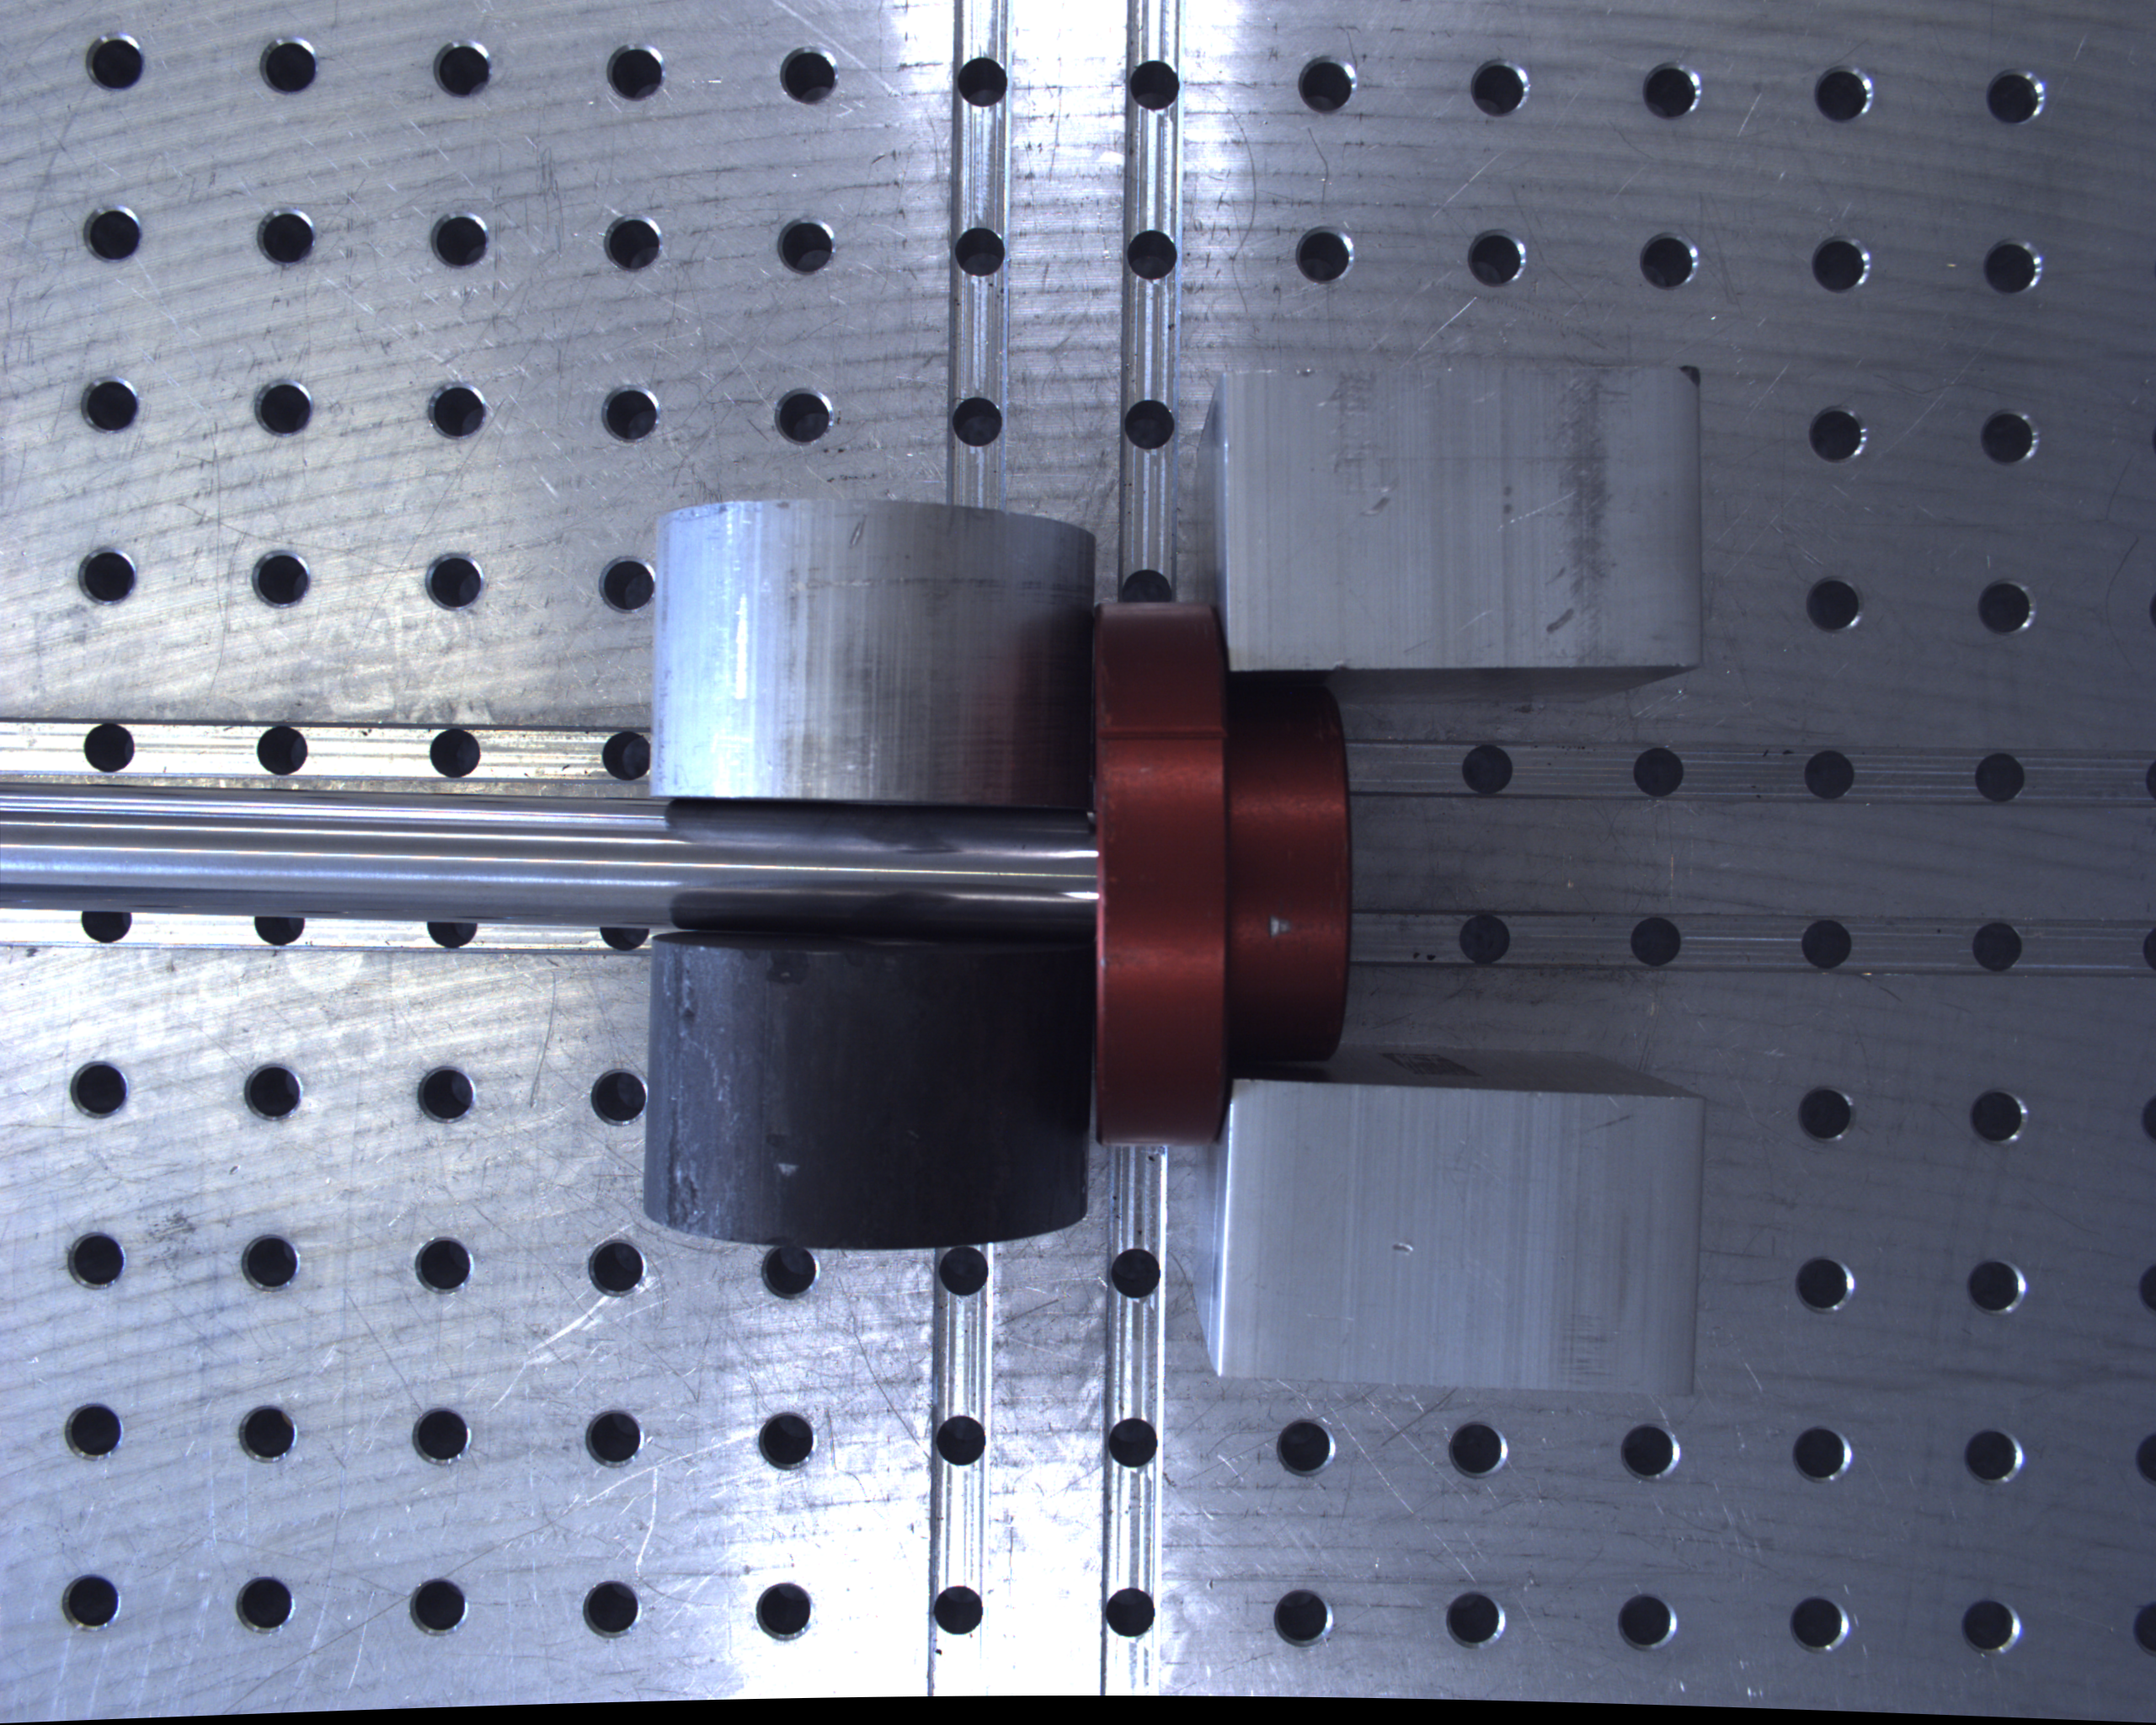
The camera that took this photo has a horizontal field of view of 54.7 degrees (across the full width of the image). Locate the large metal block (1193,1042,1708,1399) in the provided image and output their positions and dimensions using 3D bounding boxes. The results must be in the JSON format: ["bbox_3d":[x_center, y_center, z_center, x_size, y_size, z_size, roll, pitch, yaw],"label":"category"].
[{"bbox_3d":[0.064,0.062,0.387,0.080,0.080,0.050,3,90,0],"label":"large metal block"}]

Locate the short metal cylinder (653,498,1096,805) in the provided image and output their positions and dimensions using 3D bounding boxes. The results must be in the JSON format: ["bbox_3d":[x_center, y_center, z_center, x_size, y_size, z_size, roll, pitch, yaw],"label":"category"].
[{"bbox_3d":[-0.037,-0.036,0.385,0.081,0.080,0.050,1,91,0],"label":"short metal cylinder"}]

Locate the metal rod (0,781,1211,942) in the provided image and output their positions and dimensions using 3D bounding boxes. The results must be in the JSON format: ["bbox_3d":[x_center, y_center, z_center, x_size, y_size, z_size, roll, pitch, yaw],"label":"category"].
[{"bbox_3d":[-0.120,-0.001,0.401,0.302,0.025,0.025,2,90,4],"label":"metal rod"}]

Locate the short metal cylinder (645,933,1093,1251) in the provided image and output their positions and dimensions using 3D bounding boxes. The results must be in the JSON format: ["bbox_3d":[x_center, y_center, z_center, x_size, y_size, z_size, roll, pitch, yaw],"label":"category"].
[{"bbox_3d":[-0.038,0.039,0.385,0.081,0.080,0.050,1,91,0],"label":"short metal cylinder"}]

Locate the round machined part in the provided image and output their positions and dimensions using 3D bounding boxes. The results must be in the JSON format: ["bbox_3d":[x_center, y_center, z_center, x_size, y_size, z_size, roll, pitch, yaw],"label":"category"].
[{"bbox_3d":[0.025,0.002,0.376,0.042,0.098,0.097,1,90,0],"label":"round machined part"}]

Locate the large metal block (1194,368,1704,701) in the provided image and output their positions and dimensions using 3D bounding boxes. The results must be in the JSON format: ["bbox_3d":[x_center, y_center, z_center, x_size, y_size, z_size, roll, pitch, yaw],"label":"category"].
[{"bbox_3d":[0.064,-0.058,0.387,0.081,0.080,0.050,0,90,0],"label":"large metal block"}]
